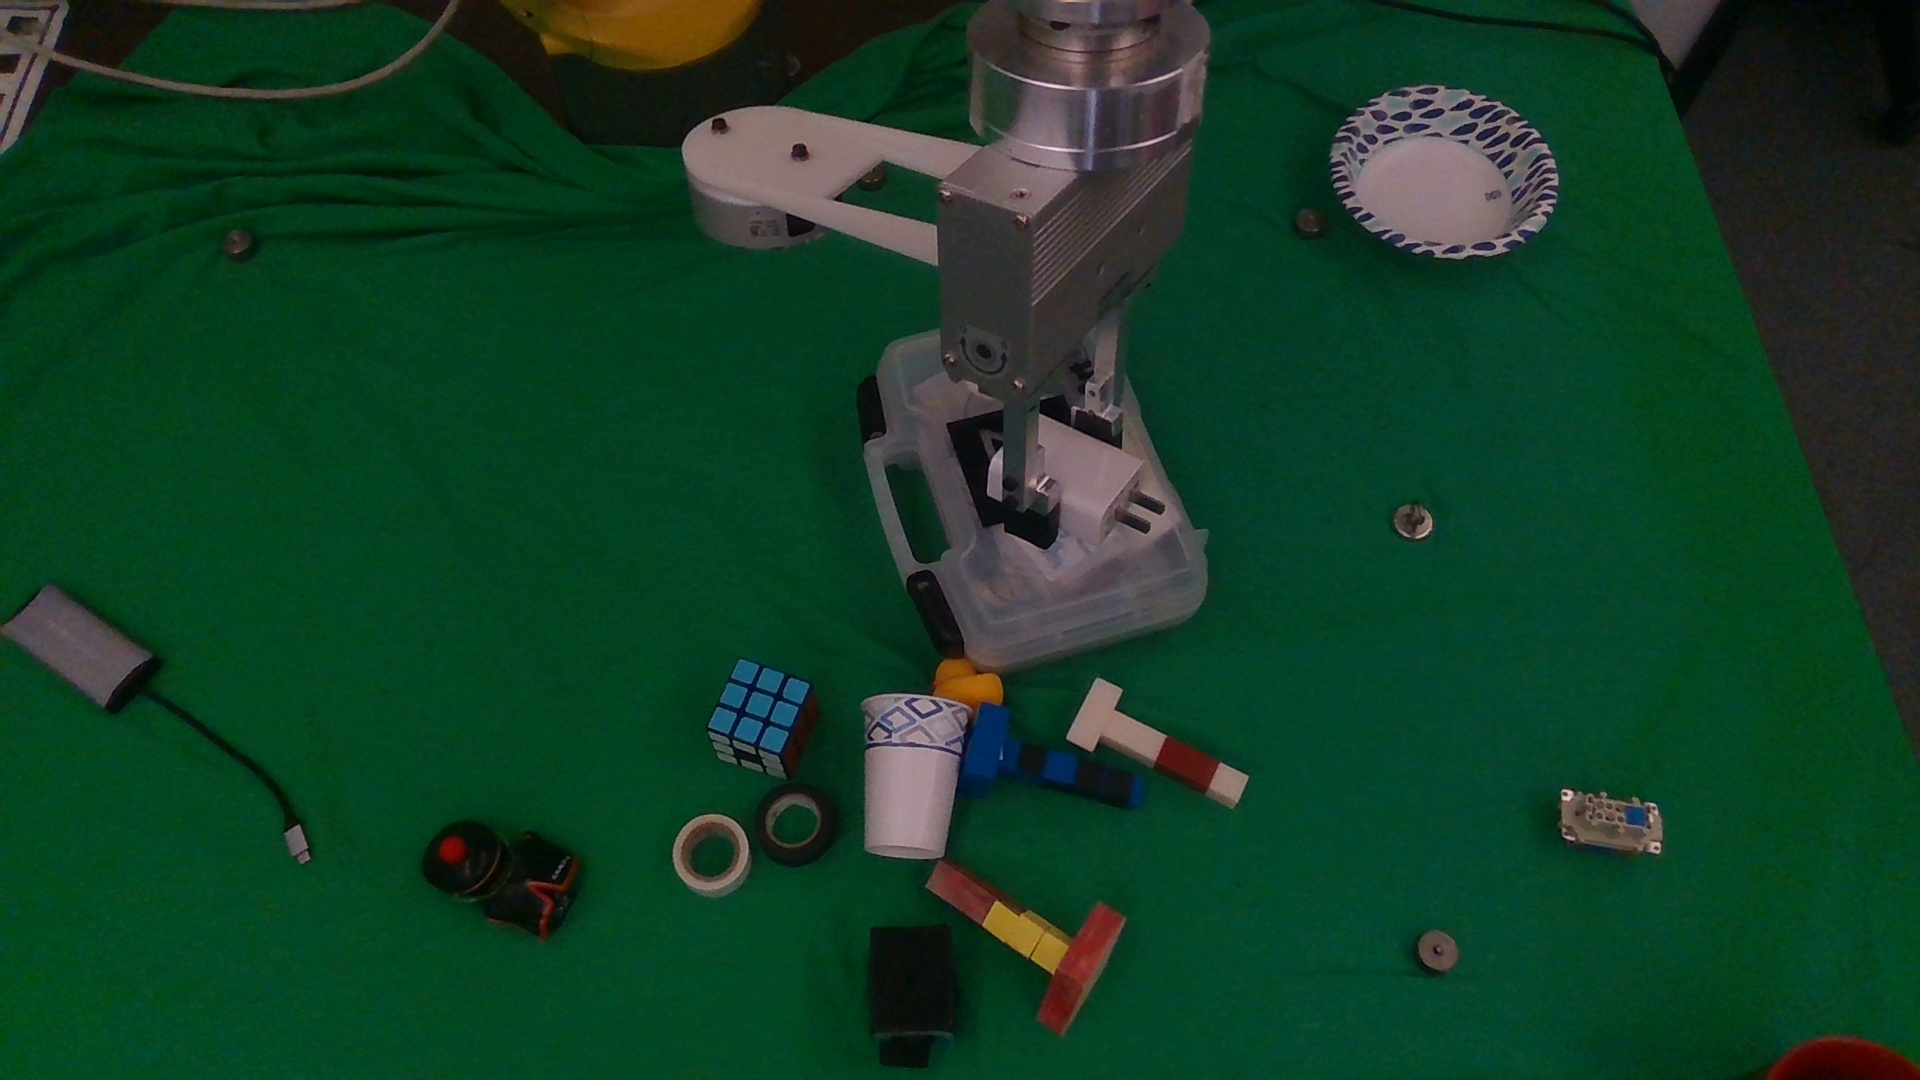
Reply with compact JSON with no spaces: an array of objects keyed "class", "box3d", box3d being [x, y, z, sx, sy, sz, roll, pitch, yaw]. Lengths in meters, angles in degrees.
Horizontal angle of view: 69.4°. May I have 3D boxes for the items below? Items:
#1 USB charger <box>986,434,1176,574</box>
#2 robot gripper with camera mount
[{"class":"USB charger","box3d":[0.053,-0.013,0.568,0.076,0.029,0.044,30,60,28]},{"class":"robot gripper with camera mount","box3d":[-0.019,-0.096,0.544,0.194,0.158,0.118,27,51,20]}]
